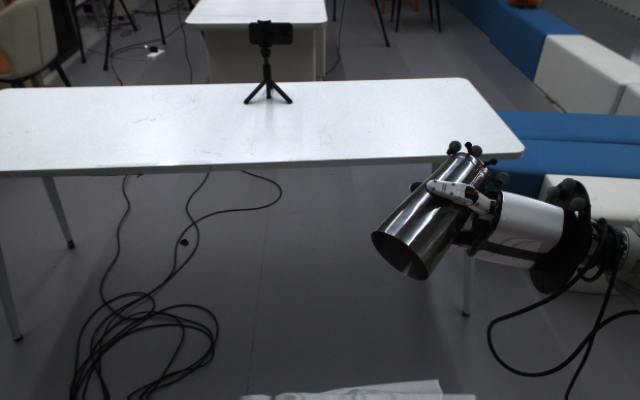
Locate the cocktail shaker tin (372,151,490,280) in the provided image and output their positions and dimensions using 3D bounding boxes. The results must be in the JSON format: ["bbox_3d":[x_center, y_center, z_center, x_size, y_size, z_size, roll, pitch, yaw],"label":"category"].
[{"bbox_3d":[0.158,0.011,0.656,0.093,0.093,0.170,32,67,35],"label":"cocktail shaker tin"}]
